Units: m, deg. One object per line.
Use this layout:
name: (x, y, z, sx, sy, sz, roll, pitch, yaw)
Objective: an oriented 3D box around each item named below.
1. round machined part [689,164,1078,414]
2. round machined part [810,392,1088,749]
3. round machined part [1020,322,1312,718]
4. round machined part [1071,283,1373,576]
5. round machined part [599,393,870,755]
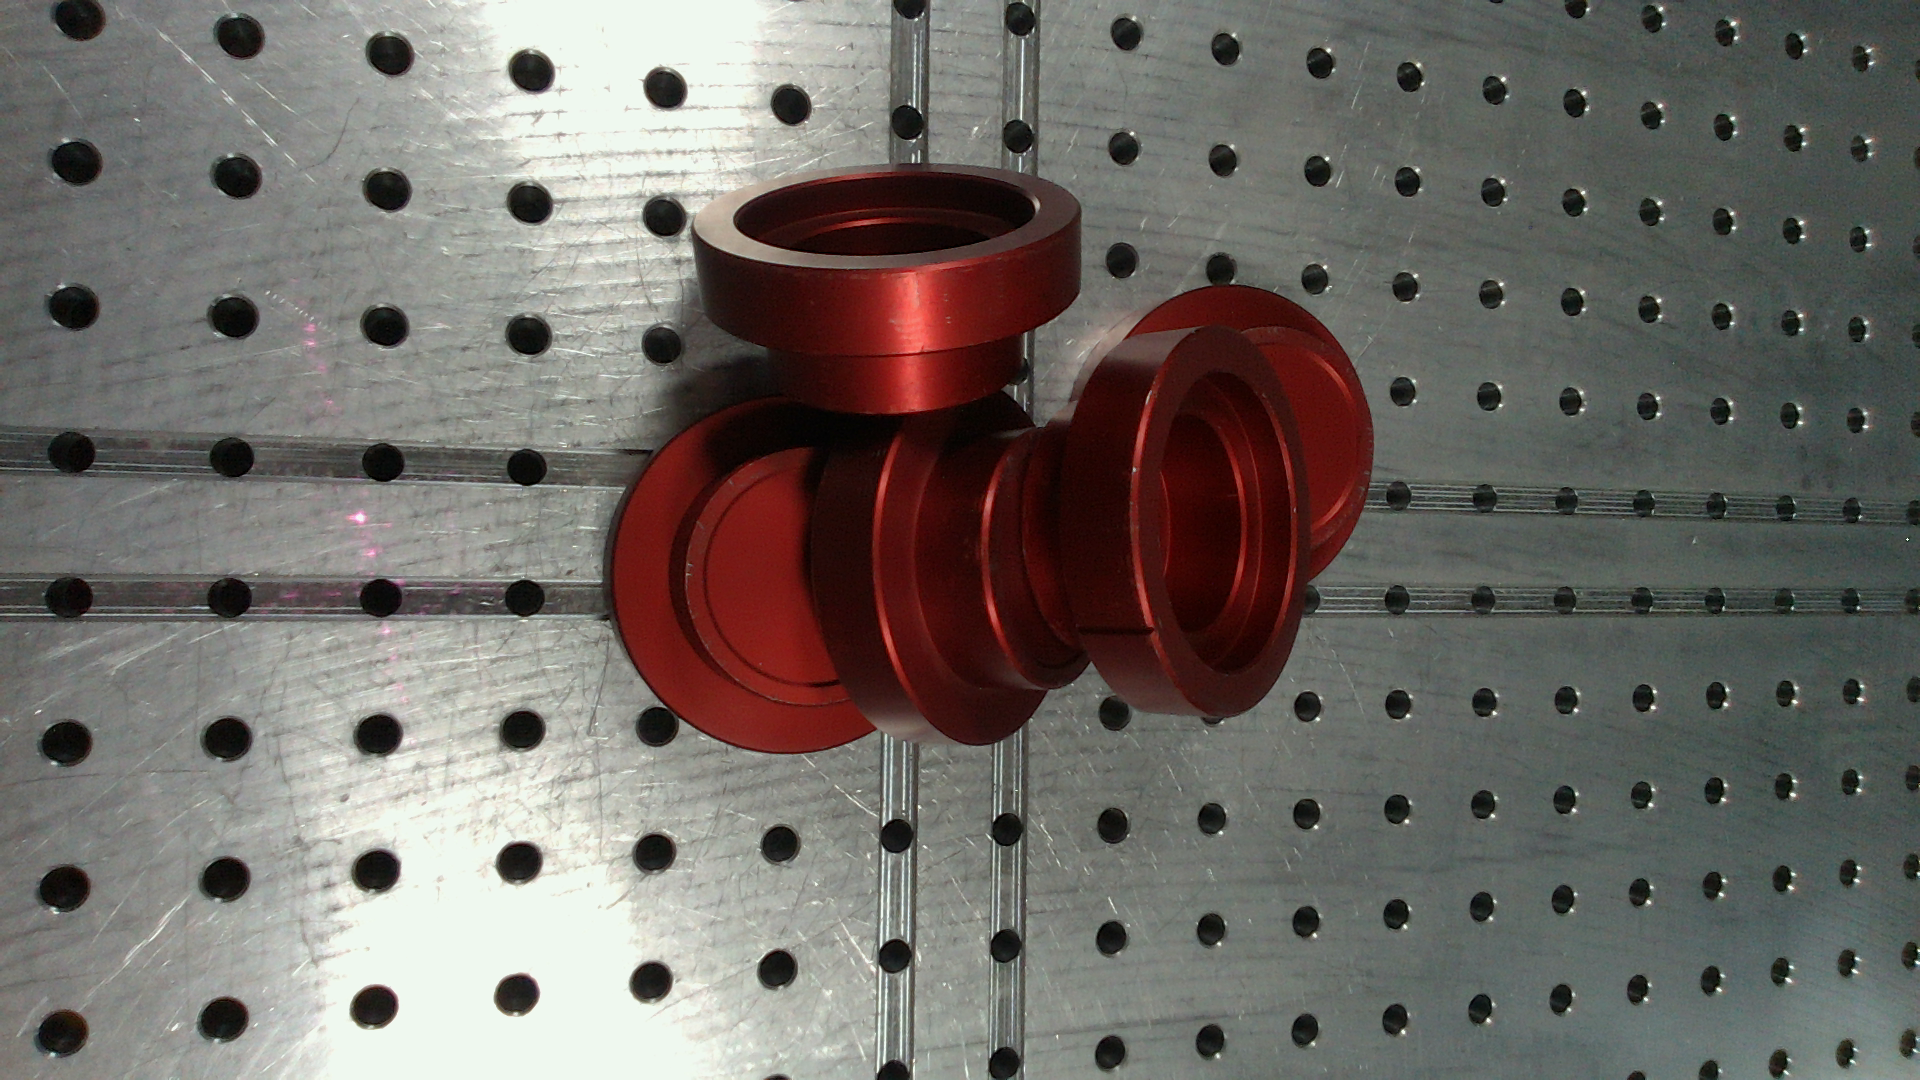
round machined part: (-0.018, -0.065, 0.356, 0.098, 0.098, 0.042, -13, 120, -19)
round machined part: (0.007, 0.006, 0.364, 0.098, 0.042, 0.098, 9, 80, -56)
round machined part: (0.052, -0.005, 0.355, 0.098, 0.042, 0.098, 3, 87, -53)
round machined part: (0.085, -0.029, 0.417, 0.098, 0.042, 0.098, 0, 90, -20)
round machined part: (-0.045, 0.009, 0.371, 0.098, 0.042, 0.098, 0, 90, -20)
